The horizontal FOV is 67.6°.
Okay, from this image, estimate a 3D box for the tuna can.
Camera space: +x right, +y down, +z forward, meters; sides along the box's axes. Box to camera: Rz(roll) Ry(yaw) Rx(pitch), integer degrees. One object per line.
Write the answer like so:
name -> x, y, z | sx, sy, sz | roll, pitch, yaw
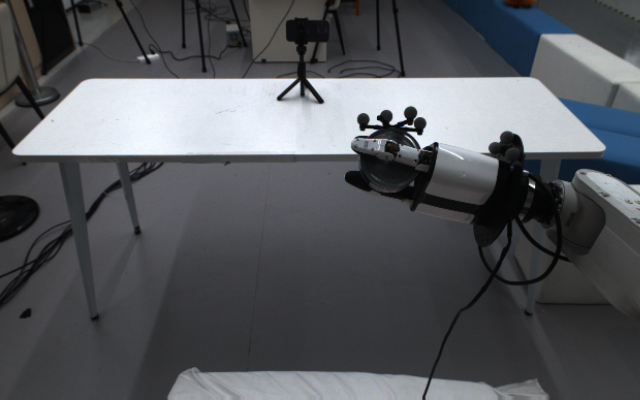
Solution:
tuna can -> 0.097, -0.056, 0.667 | 0.085, 0.034, 0.085 | 0, 74, 0
